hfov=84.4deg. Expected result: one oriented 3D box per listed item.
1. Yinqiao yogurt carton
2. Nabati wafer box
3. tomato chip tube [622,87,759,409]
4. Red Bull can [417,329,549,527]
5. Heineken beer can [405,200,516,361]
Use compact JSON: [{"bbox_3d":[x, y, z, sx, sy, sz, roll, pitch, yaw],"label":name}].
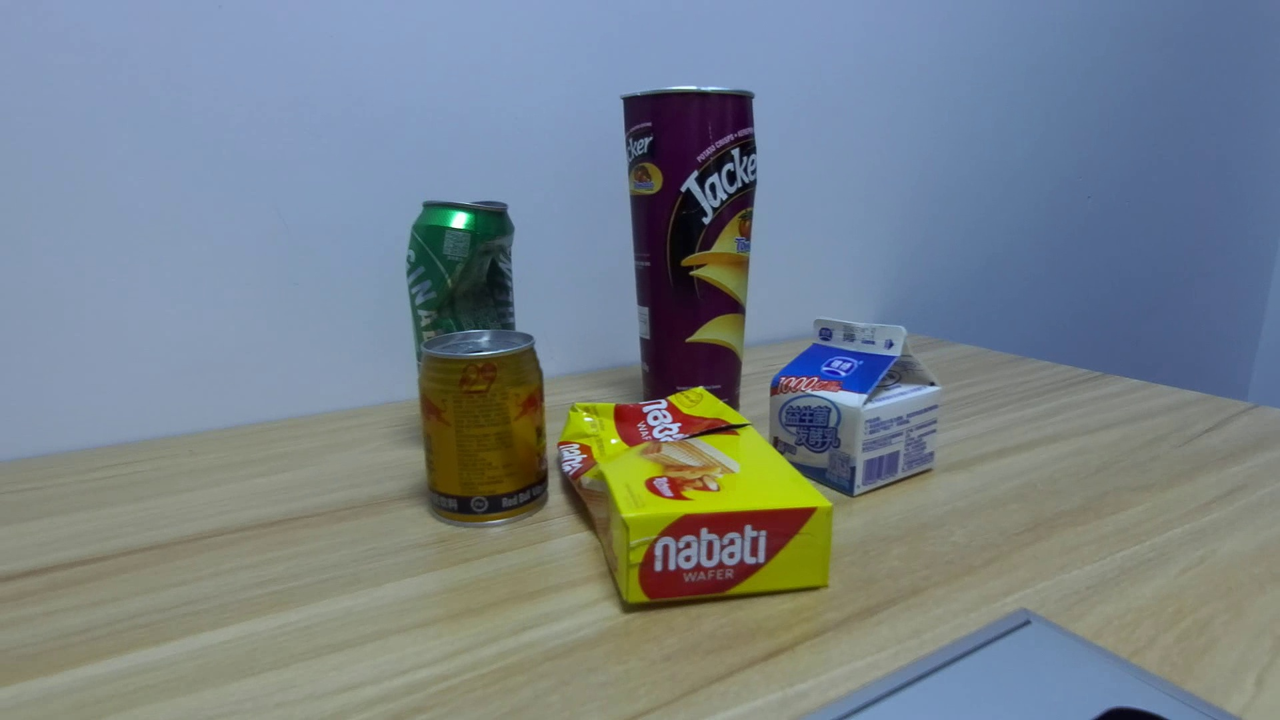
[{"bbox_3d":[0.128,0.021,0.427,0.074,0.092,0.075,-10,16,-32],"label":"Yinqiao yogurt carton"},{"bbox_3d":[0.015,0.061,0.397,0.107,0.042,0.203,-2,13,-11],"label":"Nabati wafer box"},{"bbox_3d":[0.039,-0.076,0.532,0.077,0.235,0.076,11,18,43],"label":"tomato chip tube"},{"bbox_3d":[-0.085,0.035,0.387,0.067,0.093,0.067,1,14,0],"label":"Red Bull can"},{"bbox_3d":[-0.116,-0.021,0.471,0.078,0.164,0.066,-5,14,-26],"label":"Heineken beer can"}]
